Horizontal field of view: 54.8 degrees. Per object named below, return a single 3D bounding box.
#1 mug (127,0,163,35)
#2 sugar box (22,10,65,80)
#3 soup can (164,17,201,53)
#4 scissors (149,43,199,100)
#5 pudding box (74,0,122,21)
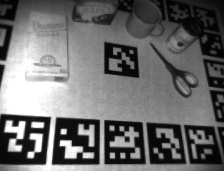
[{"bbox_3d":[0.099,-0.201,0.643,0.094,0.081,0.117,-32,81,-23],"label":"mug"},{"bbox_3d":[-0.166,-0.102,0.541,0.093,0.045,0.176,3,71,-15],"label":"sugar box"},{"bbox_3d":[0.211,-0.152,0.660,0.068,0.101,0.067,6,67,-14],"label":"soup can"},{"bbox_3d":[0.179,-0.054,0.651,0.088,0.016,0.202,-39,87,-17],"label":"scissors"},{"bbox_3d":[-0.042,-0.218,0.593,0.115,0.089,0.038,-3,78,-20],"label":"pudding box"}]
